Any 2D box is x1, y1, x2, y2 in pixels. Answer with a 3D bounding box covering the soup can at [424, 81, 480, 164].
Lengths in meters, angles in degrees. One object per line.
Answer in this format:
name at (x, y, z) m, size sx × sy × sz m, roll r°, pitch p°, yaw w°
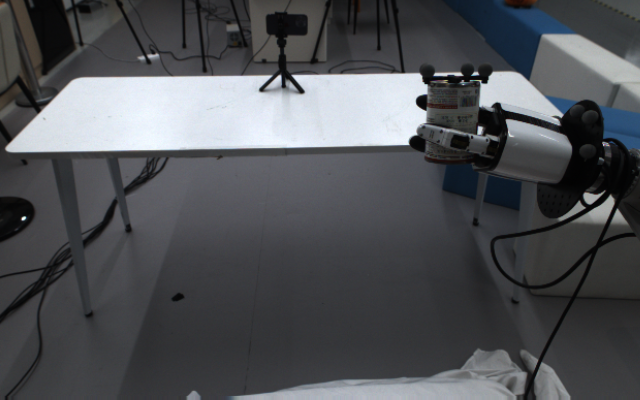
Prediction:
soup can at (0.174, -0.103, 0.633) m, size 0.067 × 0.101 × 0.067 m, roll -1°, pitch 17°, yaw 0°
